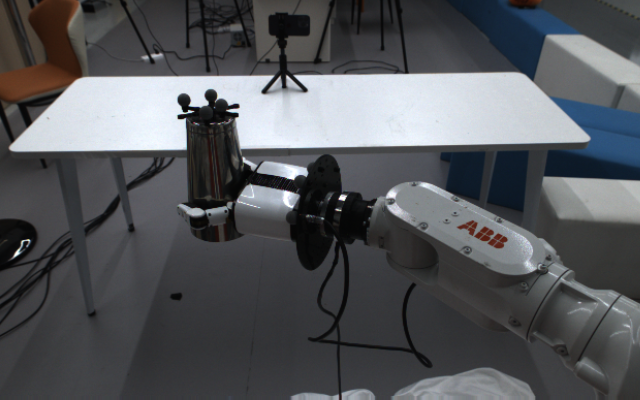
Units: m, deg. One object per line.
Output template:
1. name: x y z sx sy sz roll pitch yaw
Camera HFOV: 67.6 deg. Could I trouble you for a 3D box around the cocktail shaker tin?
1. cocktail shaker tin: -0.147 -0.037 0.689 0.093 0.170 0.093 0 28 0
